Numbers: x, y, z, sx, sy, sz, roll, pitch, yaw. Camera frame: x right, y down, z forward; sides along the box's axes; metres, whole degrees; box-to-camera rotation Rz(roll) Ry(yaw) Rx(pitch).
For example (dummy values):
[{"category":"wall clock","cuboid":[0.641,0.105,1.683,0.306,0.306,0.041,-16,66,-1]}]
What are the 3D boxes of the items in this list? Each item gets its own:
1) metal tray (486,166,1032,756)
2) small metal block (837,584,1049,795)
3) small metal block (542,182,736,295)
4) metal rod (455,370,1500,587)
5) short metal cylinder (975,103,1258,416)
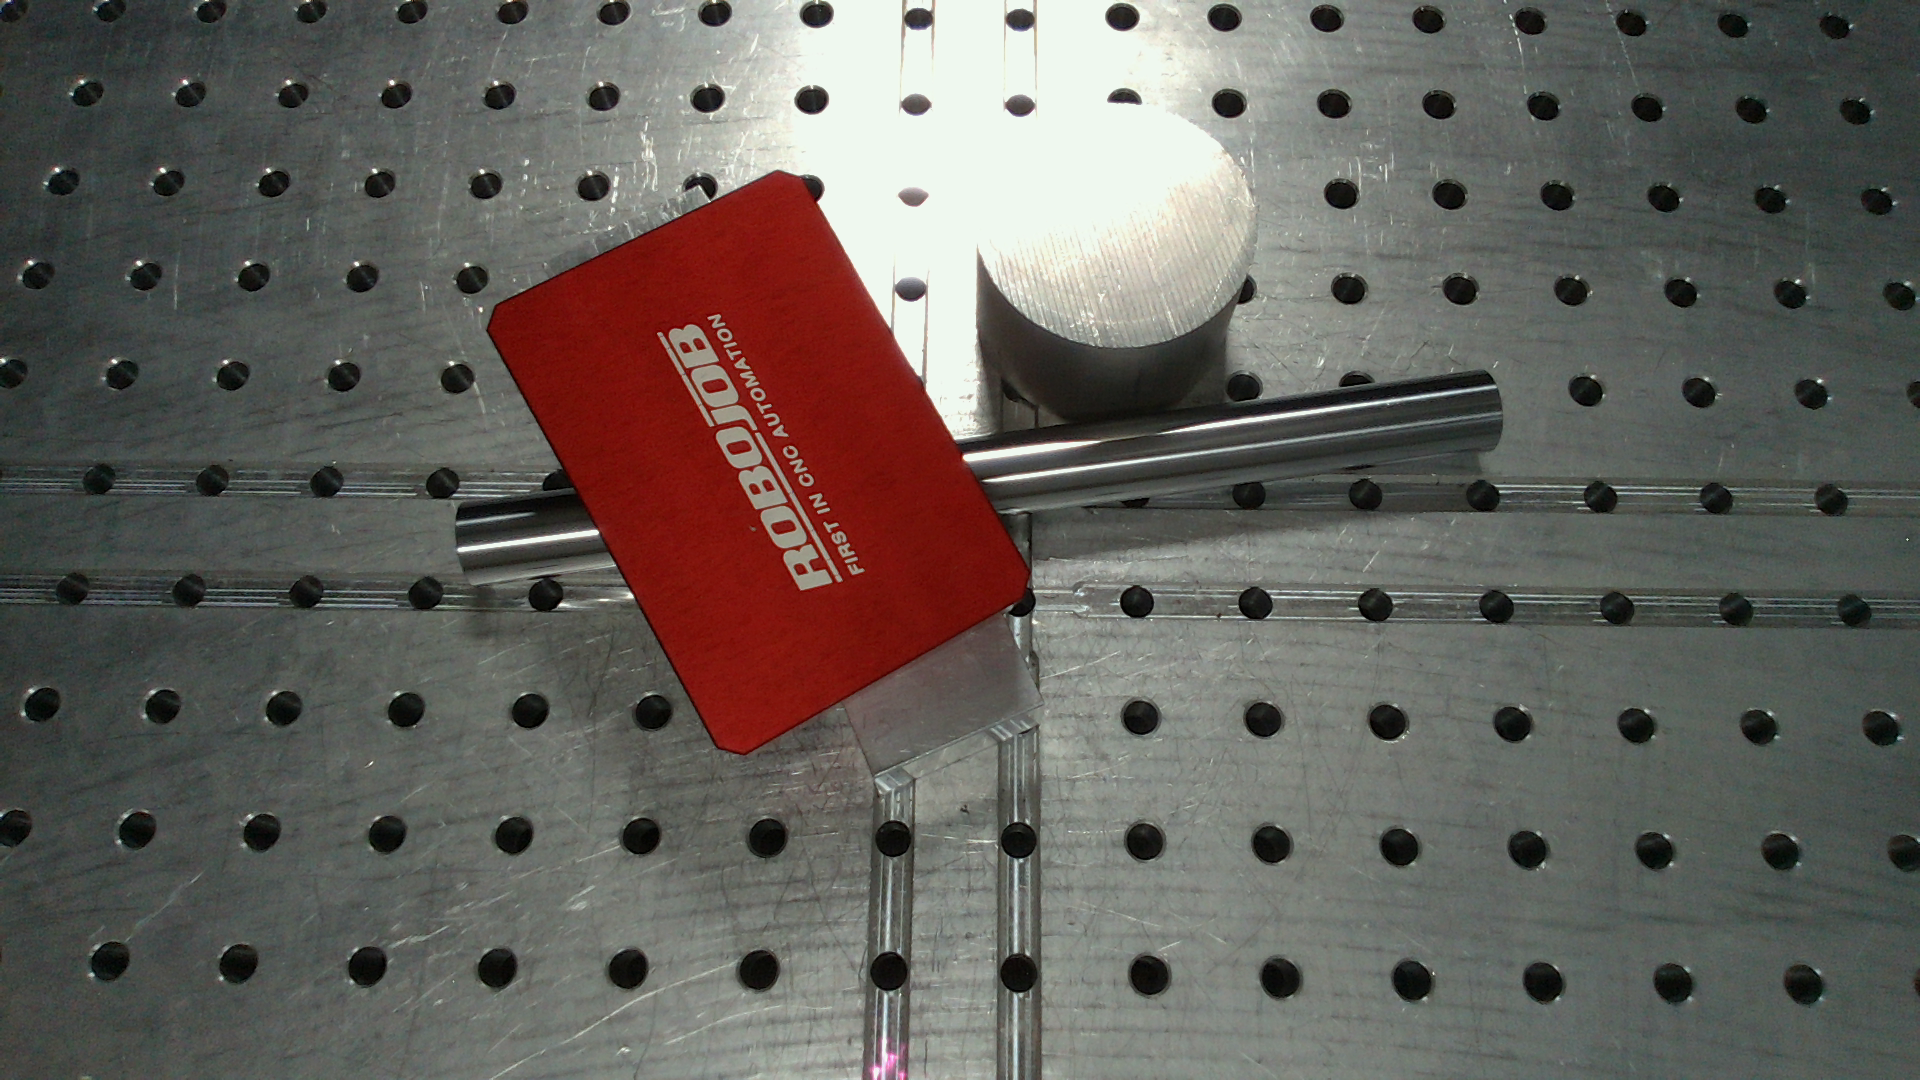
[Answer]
[{"category":"metal tray","cuboid":[-0.052,-0.020,0.361,0.090,0.030,0.130,-29,84,-10]},{"category":"small metal block","cuboid":[-0.009,0.036,0.383,0.050,0.025,0.050,-22,71,-8]},{"category":"small metal block","cuboid":[-0.089,-0.072,0.409,0.050,0.050,0.025,-30,73,-10]},{"category":"metal rod","cuboid":[0.007,-0.019,0.404,0.300,0.025,0.025,-8,70,-3]},{"category":"short metal cylinder","cuboid":[0.044,-0.082,0.413,0.080,0.050,0.080,0,70,0]}]
